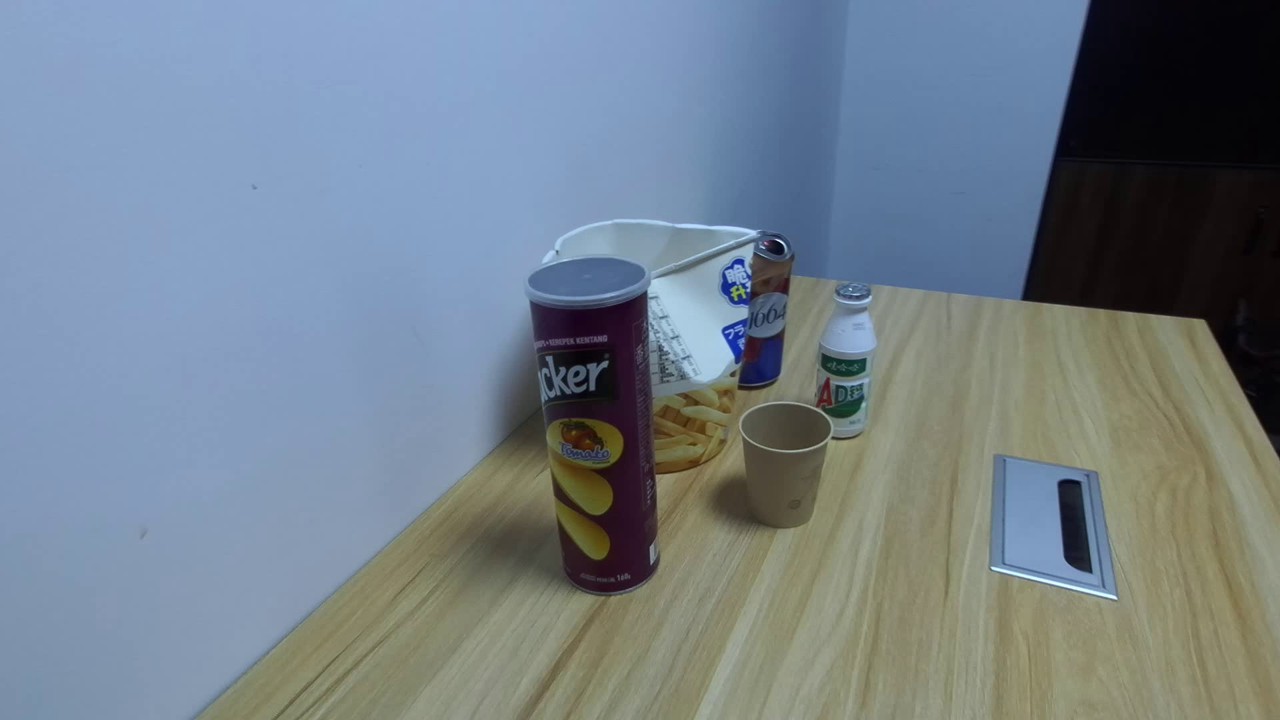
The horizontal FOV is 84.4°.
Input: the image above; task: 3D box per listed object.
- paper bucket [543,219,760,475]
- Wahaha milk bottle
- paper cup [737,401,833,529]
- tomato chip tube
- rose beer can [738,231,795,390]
[{"bbox_3d":[0.008,-0.010,0.654,0.168,0.202,0.163,7,31,24],"label":"paper bucket"},{"bbox_3d":[0.193,0.001,0.668,0.053,0.147,0.053,-1,26,1],"label":"Wahaha milk bottle"},{"bbox_3d":[0.117,0.088,0.576,0.075,0.082,0.075,-2,26,1],"label":"paper cup"},{"bbox_3d":[-0.027,0.052,0.495,0.078,0.234,0.078,-2,27,2],"label":"tomato chip tube"},{"bbox_3d":[0.126,-0.054,0.763,0.070,0.168,0.069,6,31,7],"label":"rose beer can"}]
